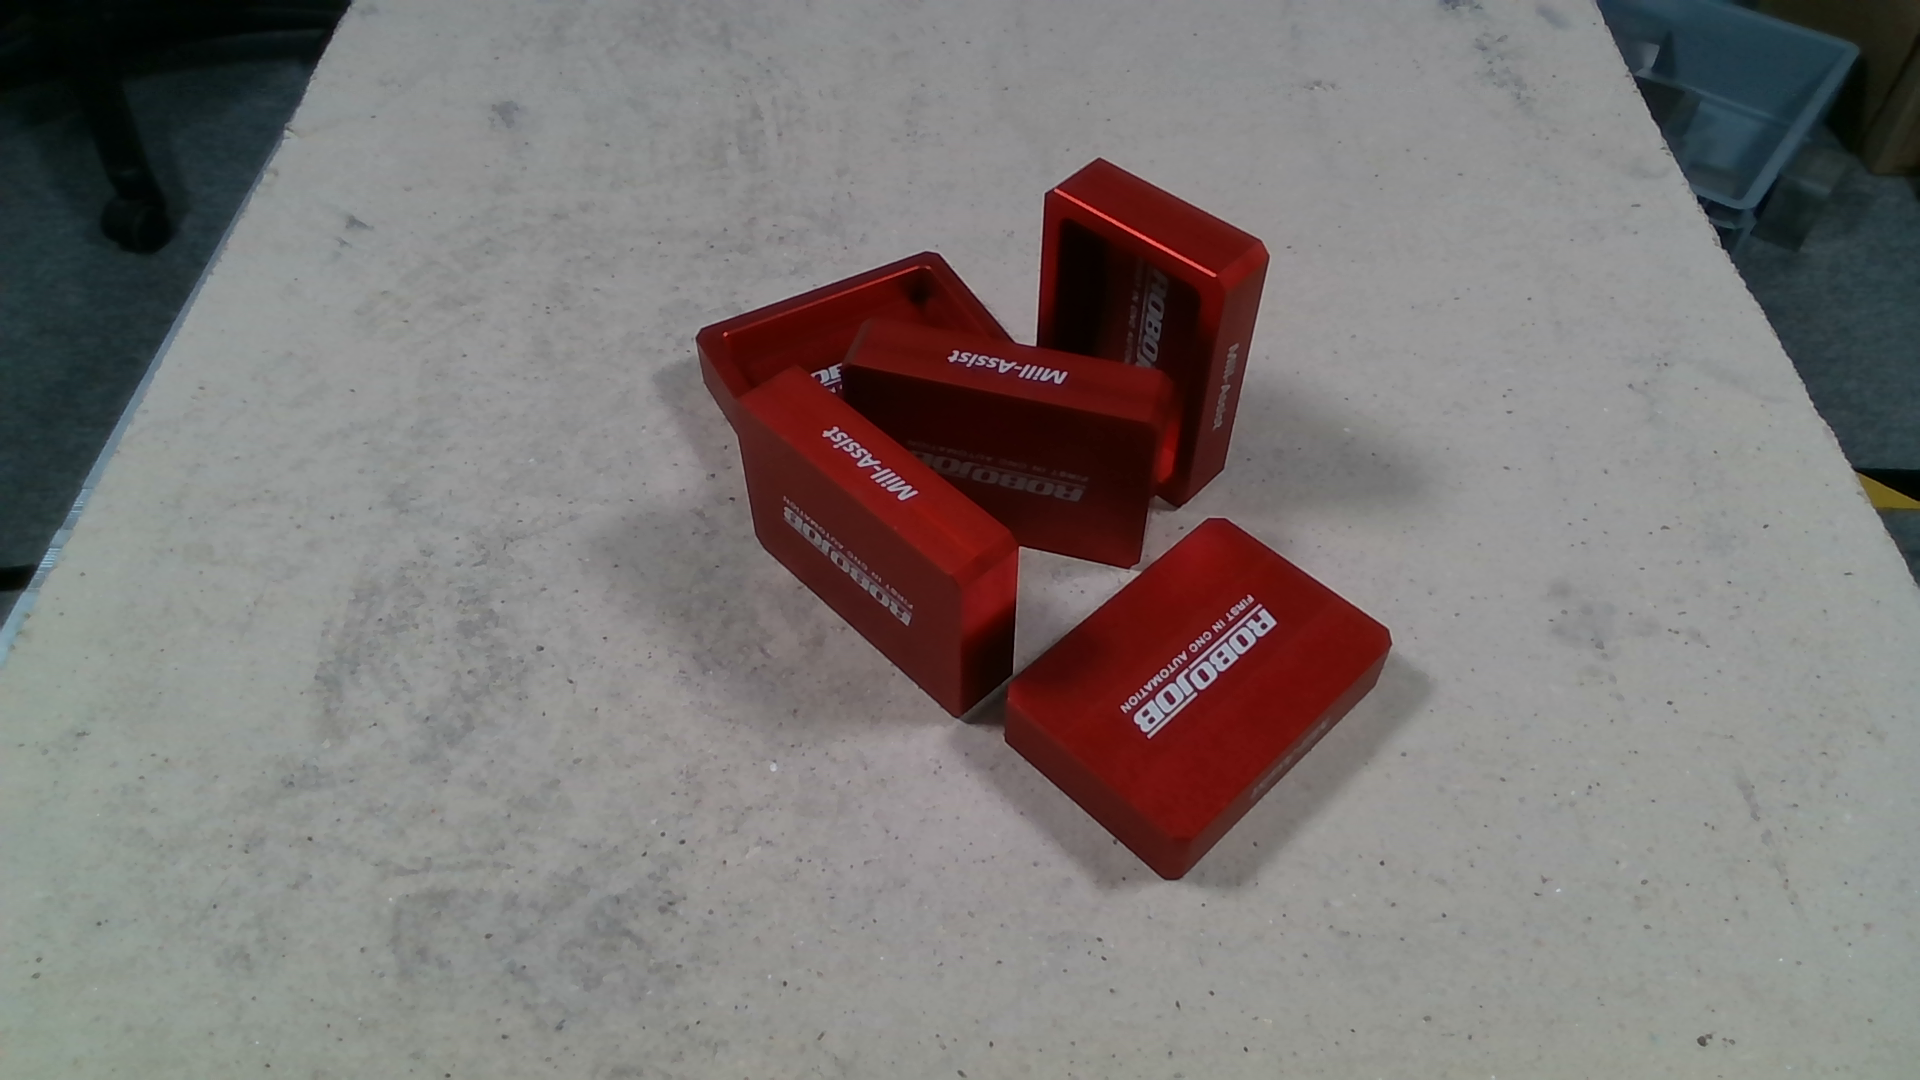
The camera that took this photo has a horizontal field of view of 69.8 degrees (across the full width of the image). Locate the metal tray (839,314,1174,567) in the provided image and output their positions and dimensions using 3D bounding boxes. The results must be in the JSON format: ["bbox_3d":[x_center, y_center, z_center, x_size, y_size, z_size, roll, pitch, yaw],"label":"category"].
[{"bbox_3d":[0.018,-0.040,0.578,0.130,0.090,0.030,12,51,10],"label":"metal tray"}]

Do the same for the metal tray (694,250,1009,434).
[{"bbox_3d":[-0.048,-0.083,0.653,0.130,0.030,0.090,-23,54,-18],"label":"metal tray"}]

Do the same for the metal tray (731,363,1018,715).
[{"bbox_3d":[-0.034,-0.001,0.545,0.030,0.090,0.130,-36,59,-26],"label":"metal tray"}]

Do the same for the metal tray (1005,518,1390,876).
[{"bbox_3d":[0.092,0.056,0.537,0.130,0.030,0.090,-37,59,-27],"label":"metal tray"}]

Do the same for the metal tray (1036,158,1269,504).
[{"bbox_3d":[0.077,-0.086,0.591,0.090,0.130,0.030,36,59,26],"label":"metal tray"}]
